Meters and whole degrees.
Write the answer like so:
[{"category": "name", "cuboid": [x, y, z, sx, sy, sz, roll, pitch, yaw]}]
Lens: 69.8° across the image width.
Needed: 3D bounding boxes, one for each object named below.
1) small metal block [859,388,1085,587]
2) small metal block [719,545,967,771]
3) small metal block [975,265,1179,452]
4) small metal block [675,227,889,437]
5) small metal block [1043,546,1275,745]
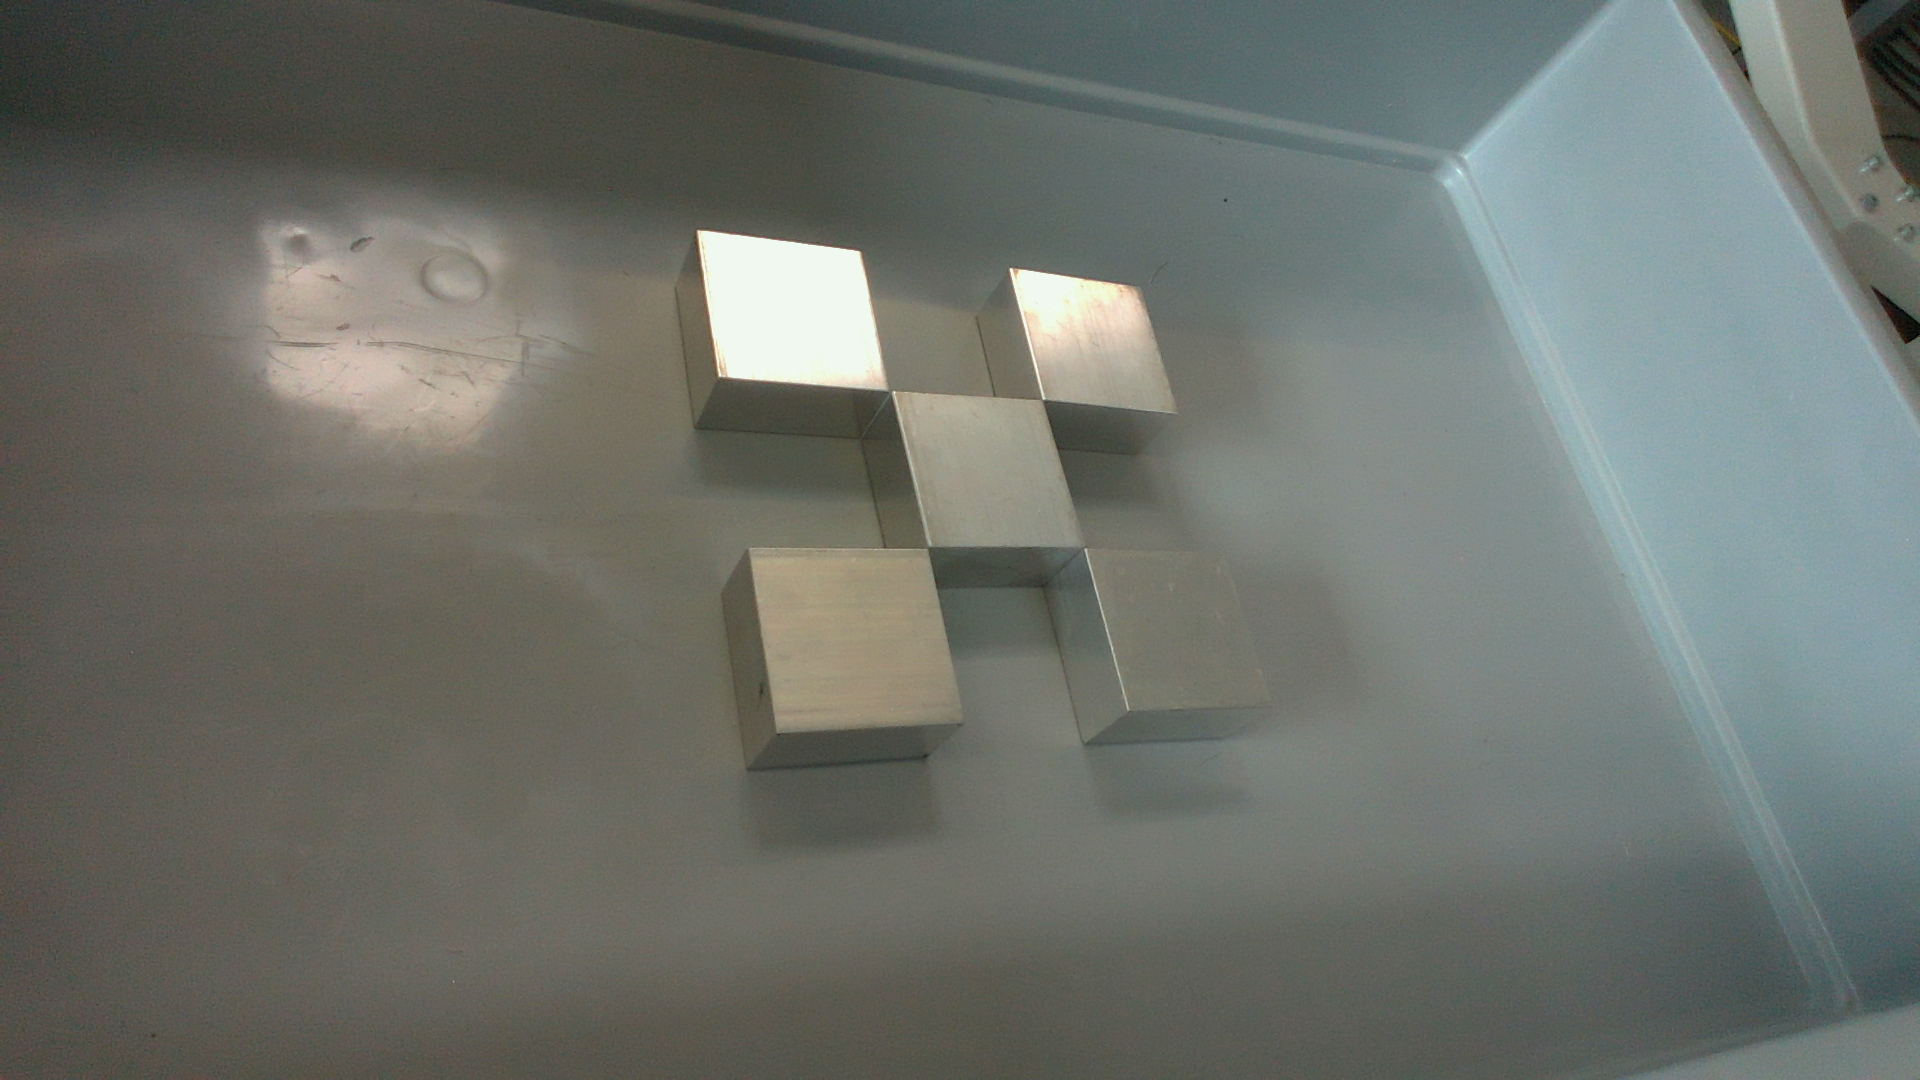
[{"category": "small metal block", "cuboid": [0.003, -0.015, 0.397, 0.050, 0.025, 0.050, 1, 61, -28]}, {"category": "small metal block", "cuboid": [-0.031, 0.029, 0.353, 0.050, 0.025, 0.050, 1, 61, -28]}, {"category": "small metal block", "cuboid": [0.037, -0.058, 0.442, 0.050, 0.025, 0.050, 2, 60, -27]}, {"category": "small metal block", "cuboid": [-0.052, -0.059, 0.396, 0.050, 0.025, 0.050, 2, 61, -27]}, {"category": "small metal block", "cuboid": [0.057, 0.030, 0.399, 0.050, 0.025, 0.050, 1, 61, -28]}]
